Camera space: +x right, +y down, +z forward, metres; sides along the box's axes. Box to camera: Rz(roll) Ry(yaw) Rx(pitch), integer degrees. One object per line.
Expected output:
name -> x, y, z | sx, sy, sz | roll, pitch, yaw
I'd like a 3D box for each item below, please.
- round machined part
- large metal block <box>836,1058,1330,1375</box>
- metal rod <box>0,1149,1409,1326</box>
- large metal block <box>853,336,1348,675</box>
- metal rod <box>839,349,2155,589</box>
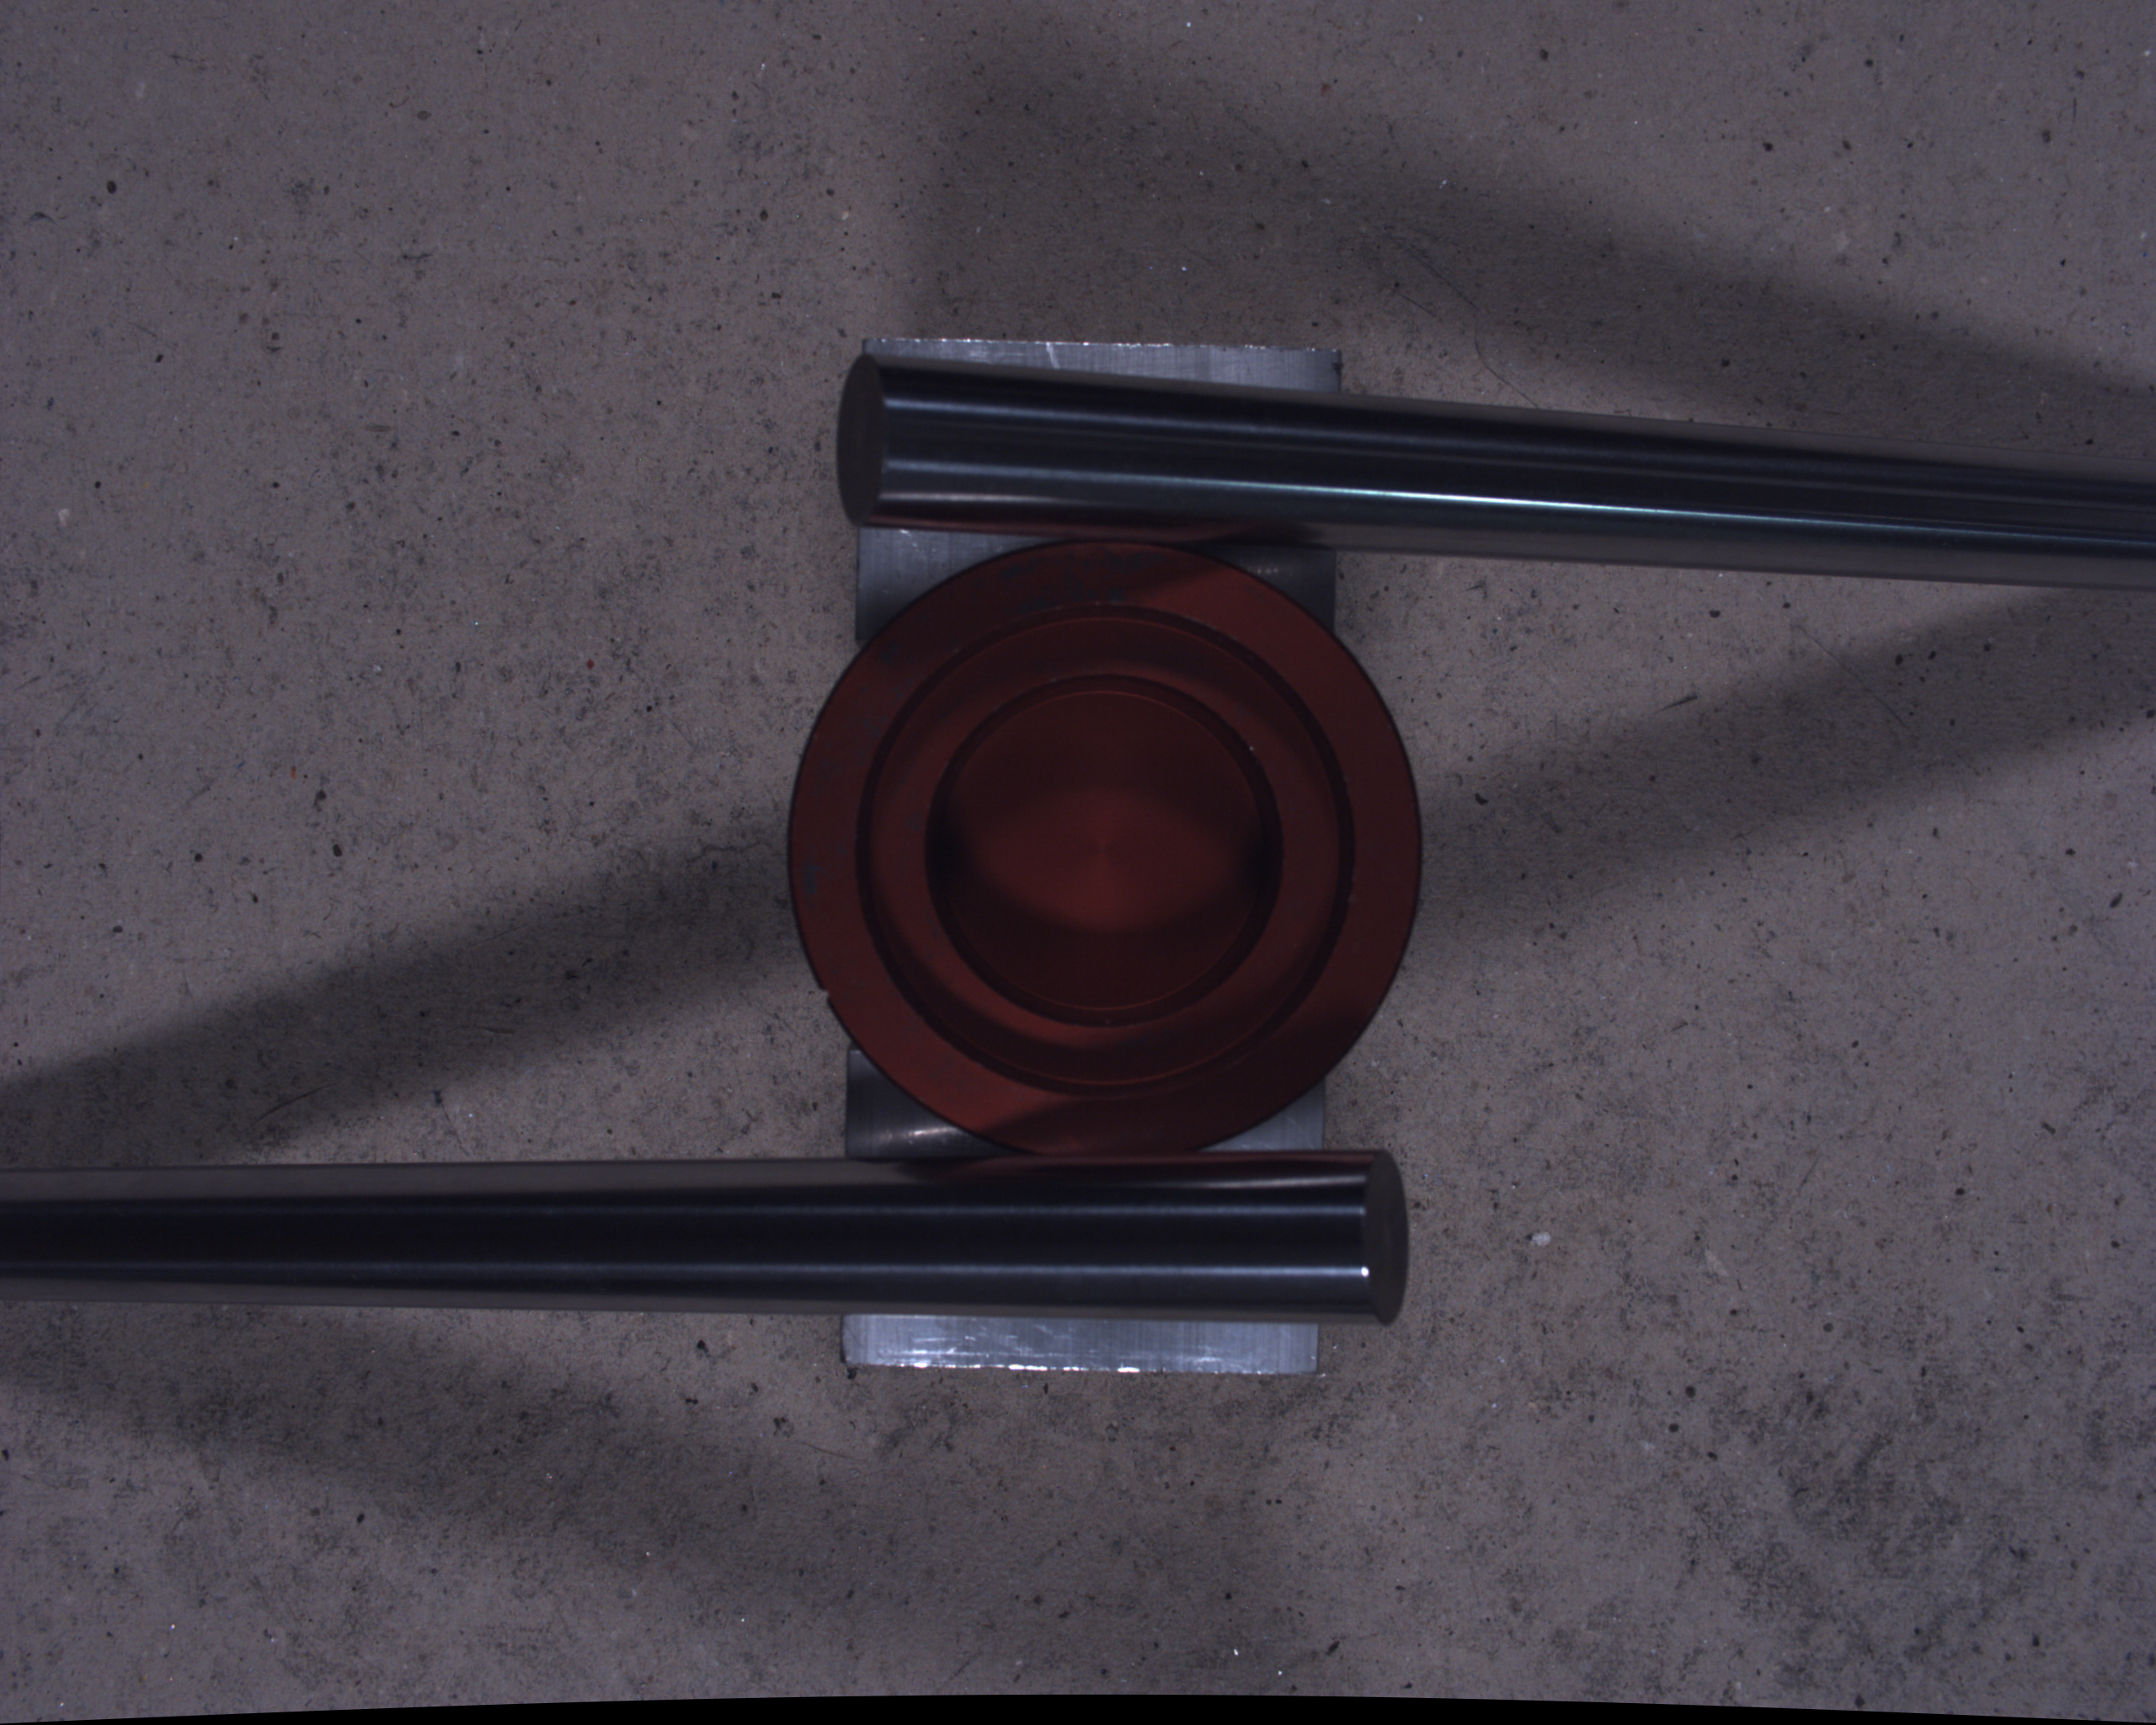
round machined part -> 0.004, -0.002, 0.344 | 0.099, 0.042, 0.097 | 0, 90, -1
large metal block -> 0.001, 0.059, 0.384 | 0.081, 0.080, 0.050 | 1, 90, -1
metal rod -> -0.095, 0.063, 0.354 | 0.301, 0.025, 0.025 | -4, 90, 22
large metal block -> 0.004, -0.061, 0.384 | 0.081, 0.080, 0.050 | 1, 90, -1
metal rod -> 0.109, -0.063, 0.359 | 0.303, 0.025, 0.025 | -1, 90, -22
